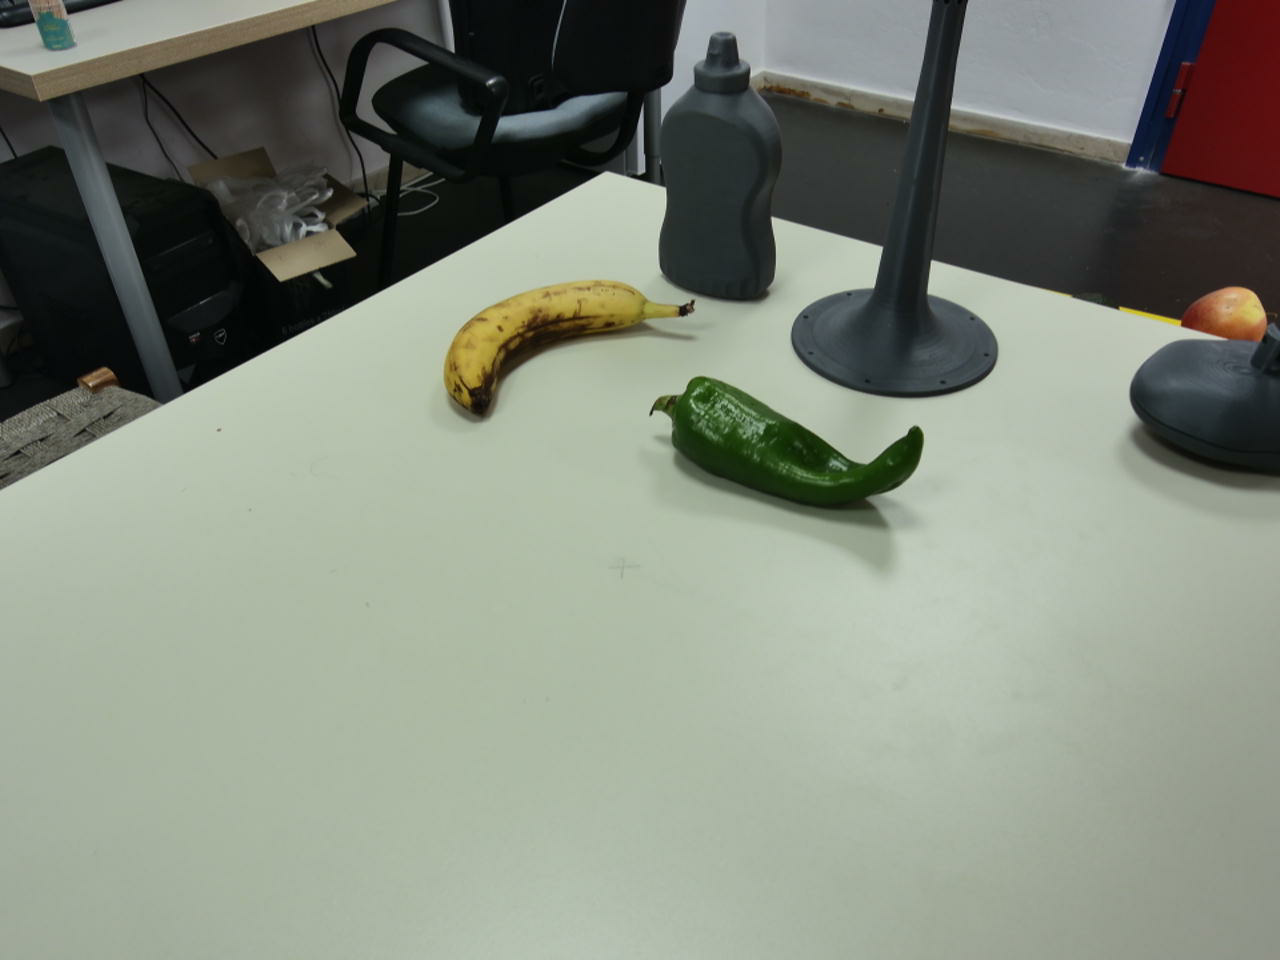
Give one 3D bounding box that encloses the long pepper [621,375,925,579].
[{"bbox_3d":[0.081,-0.026,0.598,0.175,0.065,0.058,23,43,28],"label":"long pepper"}]
